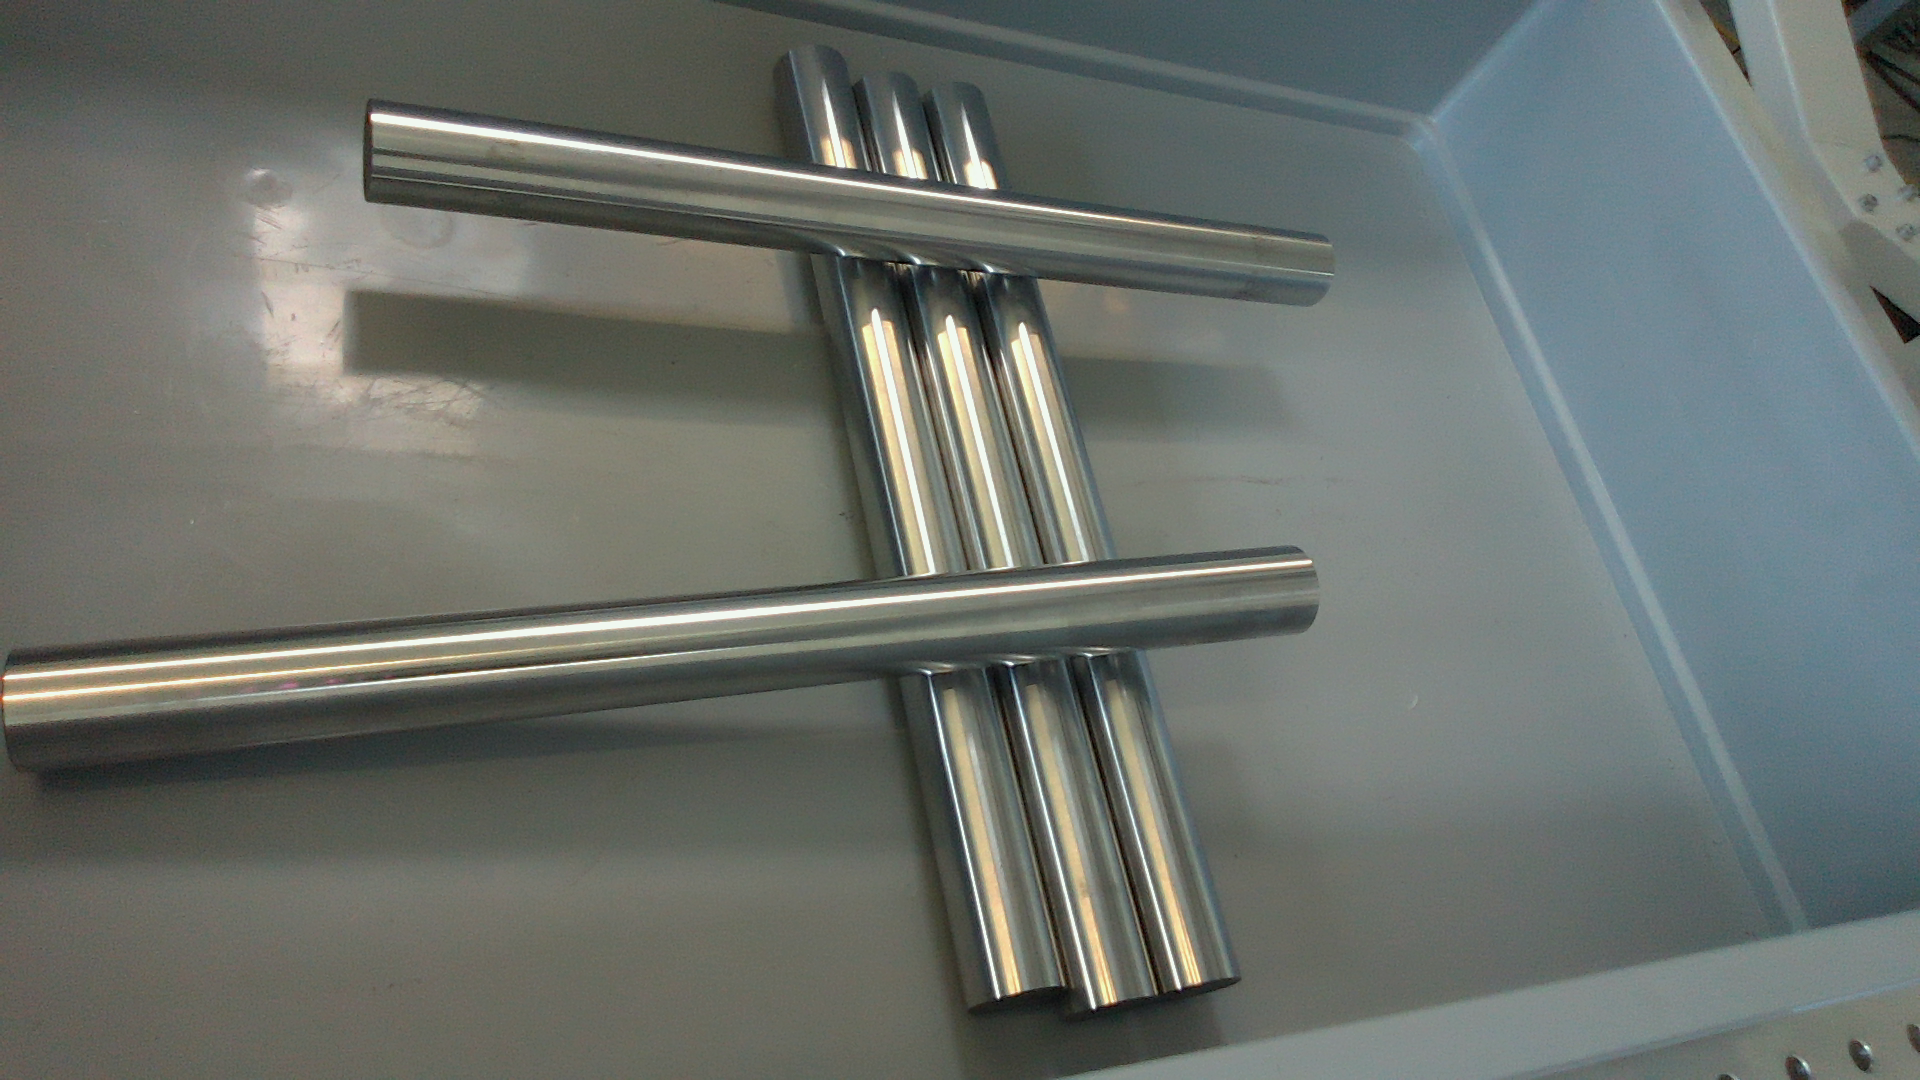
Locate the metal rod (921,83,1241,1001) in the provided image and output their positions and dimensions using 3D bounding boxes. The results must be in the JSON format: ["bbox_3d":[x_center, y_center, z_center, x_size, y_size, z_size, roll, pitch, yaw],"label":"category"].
[{"bbox_3d":[0.028,-0.017,0.413,0.025,0.025,0.300,1,61,-28],"label":"metal rod"}]

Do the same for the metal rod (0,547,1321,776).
[{"bbox_3d":[-0.046,0.024,0.326,0.301,0.025,0.025,-4,63,-22],"label":"metal rod"}]

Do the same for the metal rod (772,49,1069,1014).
[{"bbox_3d":[-0.018,-0.021,0.393,0.025,0.025,0.300,1,61,-28],"label":"metal rod"}]

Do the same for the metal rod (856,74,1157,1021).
[{"bbox_3d":[0.005,-0.016,0.402,0.025,0.025,0.300,1,61,-28],"label":"metal rod"}]

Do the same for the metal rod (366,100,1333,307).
[{"bbox_3d":[-0.012,-0.094,0.407,0.301,0.025,0.025,0,61,-28],"label":"metal rod"}]
